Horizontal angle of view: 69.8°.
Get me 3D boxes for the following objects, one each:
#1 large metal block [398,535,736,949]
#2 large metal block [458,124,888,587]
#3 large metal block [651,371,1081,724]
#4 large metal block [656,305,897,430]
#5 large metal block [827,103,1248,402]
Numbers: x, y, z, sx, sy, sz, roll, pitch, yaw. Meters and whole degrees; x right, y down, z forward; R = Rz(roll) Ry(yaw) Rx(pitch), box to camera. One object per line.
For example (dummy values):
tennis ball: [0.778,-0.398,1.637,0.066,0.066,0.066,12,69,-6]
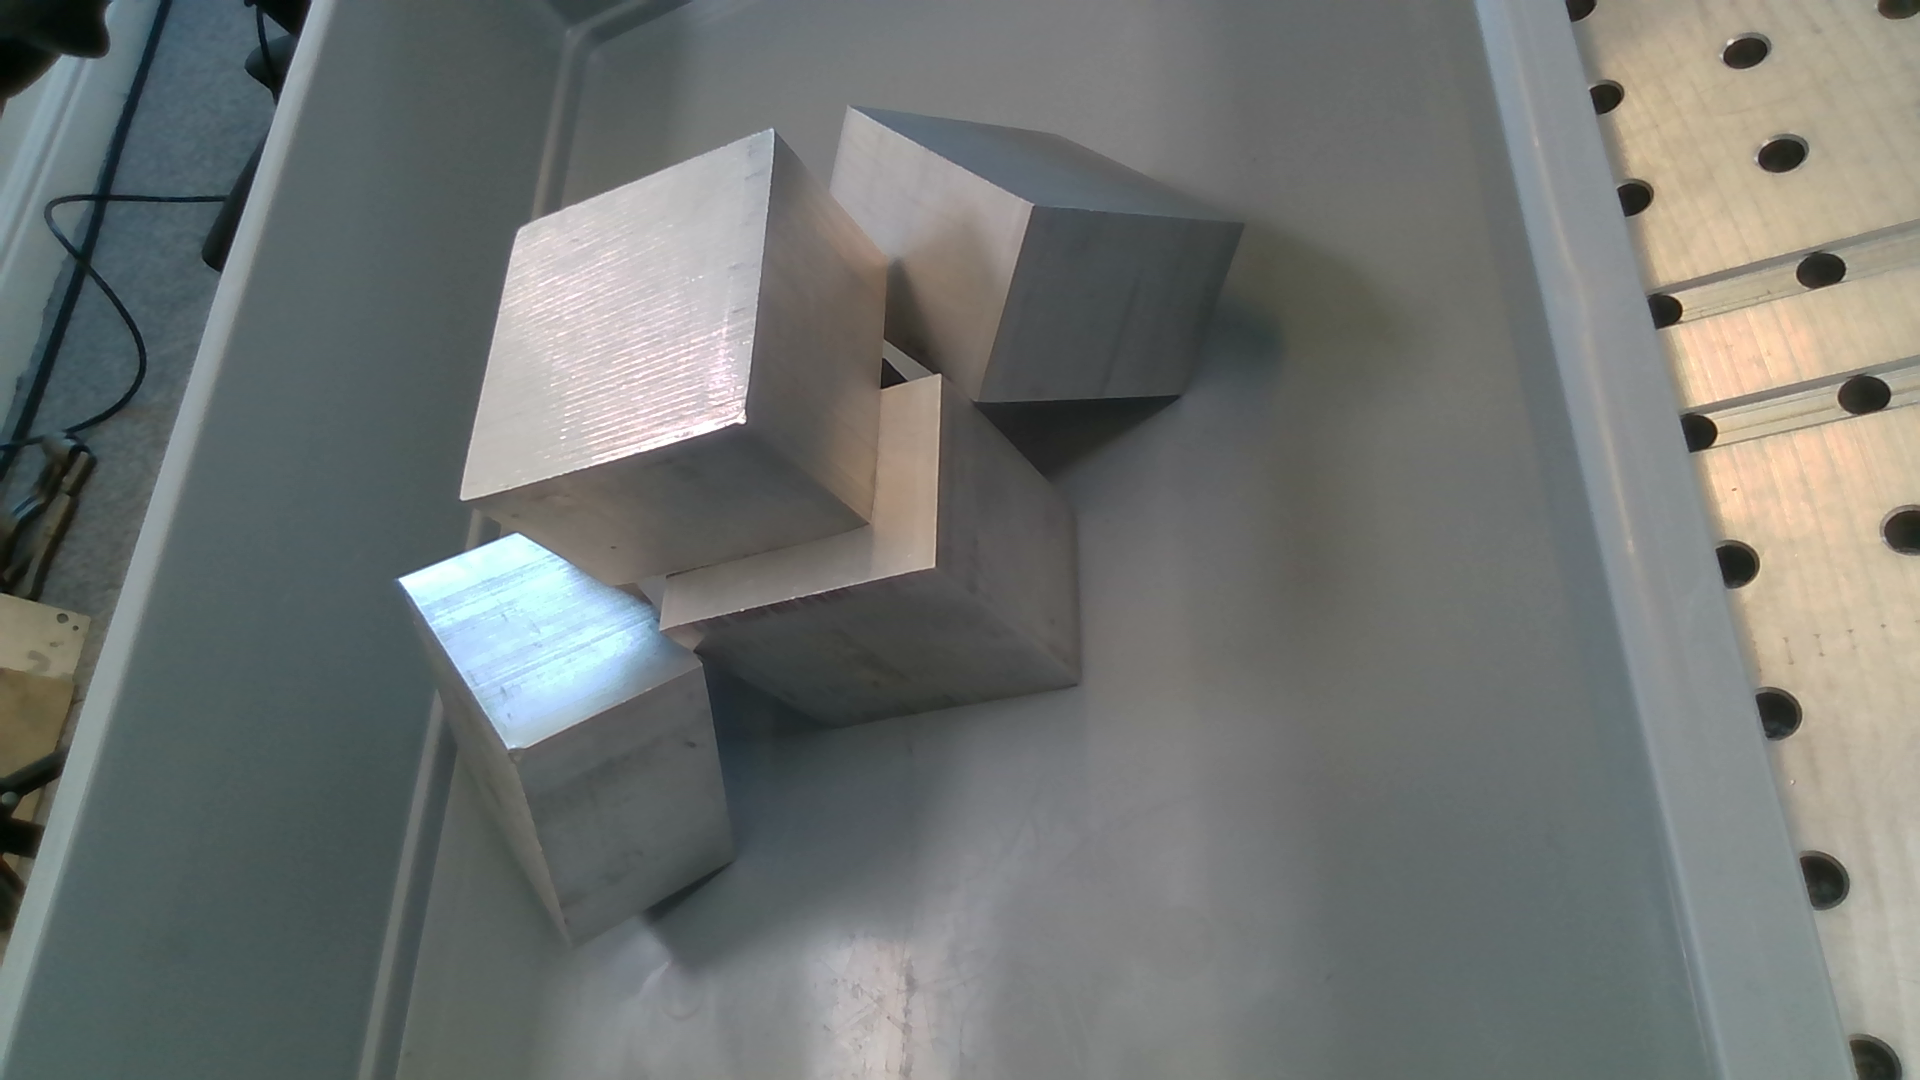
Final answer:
large metal block: [-0.109,0.051,0.387,0.050,0.080,0.080,-25,45,-26]
large metal block: [-0.067,-0.042,0.335,0.080,0.050,0.080,-13,60,26]
large metal block: [-0.022,0.007,0.364,0.080,0.080,0.050,-13,60,25]
large metal block: [-0.064,-0.028,0.411,0.080,0.080,0.050,-13,60,25]
large metal block: [0.016,-0.079,0.379,0.080,0.080,0.050,39,124,39]
